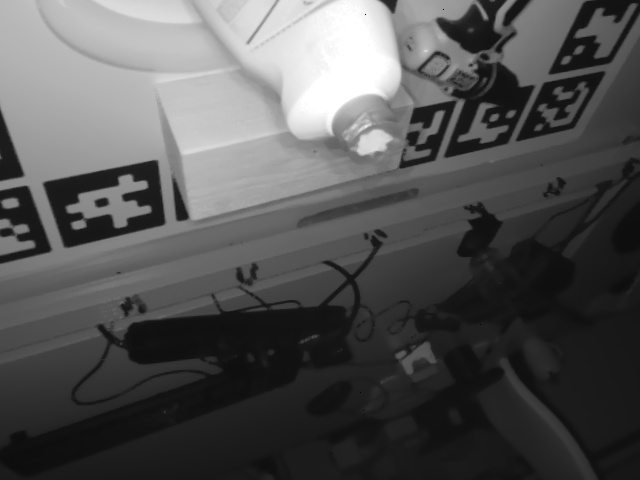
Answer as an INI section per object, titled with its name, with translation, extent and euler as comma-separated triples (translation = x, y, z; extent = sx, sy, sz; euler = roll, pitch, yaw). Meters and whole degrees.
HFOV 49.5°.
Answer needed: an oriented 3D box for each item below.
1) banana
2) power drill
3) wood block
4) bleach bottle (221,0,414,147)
[banana]
translation = -0.097, -0.158, 0.541
extent = 0.200, 0.039, 0.073
euler = -2, 127, -30
[power drill]
translation = 0.196, -0.224, 0.650
extent = 0.187, 0.057, 0.184
euler = 10, 134, -39
[wood block]
translation = -0.023, -0.106, 0.625
extent = 0.209, 0.091, 0.089
euler = -14, 145, -18
[bleach bottle]
translation = -0.016, -0.149, 0.417
extent = 0.069, 0.251, 0.101
euler = 8, 136, -42
